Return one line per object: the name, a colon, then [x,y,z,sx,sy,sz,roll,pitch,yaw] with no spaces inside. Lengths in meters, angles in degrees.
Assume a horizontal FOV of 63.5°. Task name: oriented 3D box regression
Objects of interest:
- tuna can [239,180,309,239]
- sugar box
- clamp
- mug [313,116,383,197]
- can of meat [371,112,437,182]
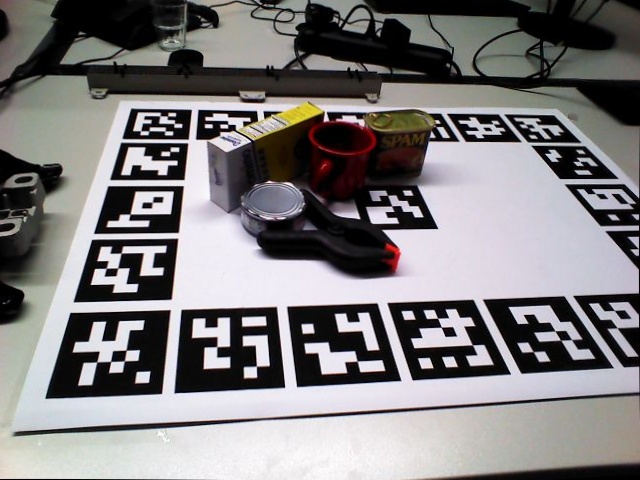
tuna can: [-0.058,-0.037,0.651,0.086,0.034,0.085,3,44,-4]
sugar box: [-0.064,-0.112,0.700,0.045,0.093,0.175,35,48,30]
clamp: [0.025,0.003,0.625,0.165,0.037,0.121,26,41,14]
mug: [0.030,-0.106,0.700,0.093,0.082,0.116,16,44,10]
can of meat: [0.122,-0.136,0.756,0.101,0.084,0.057,-6,42,-16]
